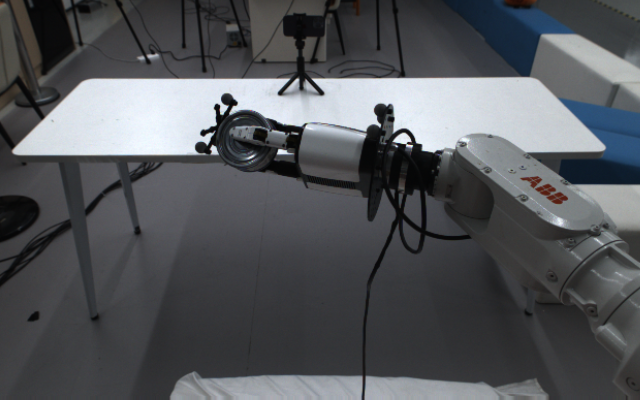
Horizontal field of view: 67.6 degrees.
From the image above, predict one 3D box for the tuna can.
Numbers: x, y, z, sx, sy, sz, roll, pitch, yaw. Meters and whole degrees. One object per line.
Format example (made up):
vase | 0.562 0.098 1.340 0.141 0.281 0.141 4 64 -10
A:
tuna can | -0.102 -0.081 0.688 0.085 0.085 0.034 9 -3 10
